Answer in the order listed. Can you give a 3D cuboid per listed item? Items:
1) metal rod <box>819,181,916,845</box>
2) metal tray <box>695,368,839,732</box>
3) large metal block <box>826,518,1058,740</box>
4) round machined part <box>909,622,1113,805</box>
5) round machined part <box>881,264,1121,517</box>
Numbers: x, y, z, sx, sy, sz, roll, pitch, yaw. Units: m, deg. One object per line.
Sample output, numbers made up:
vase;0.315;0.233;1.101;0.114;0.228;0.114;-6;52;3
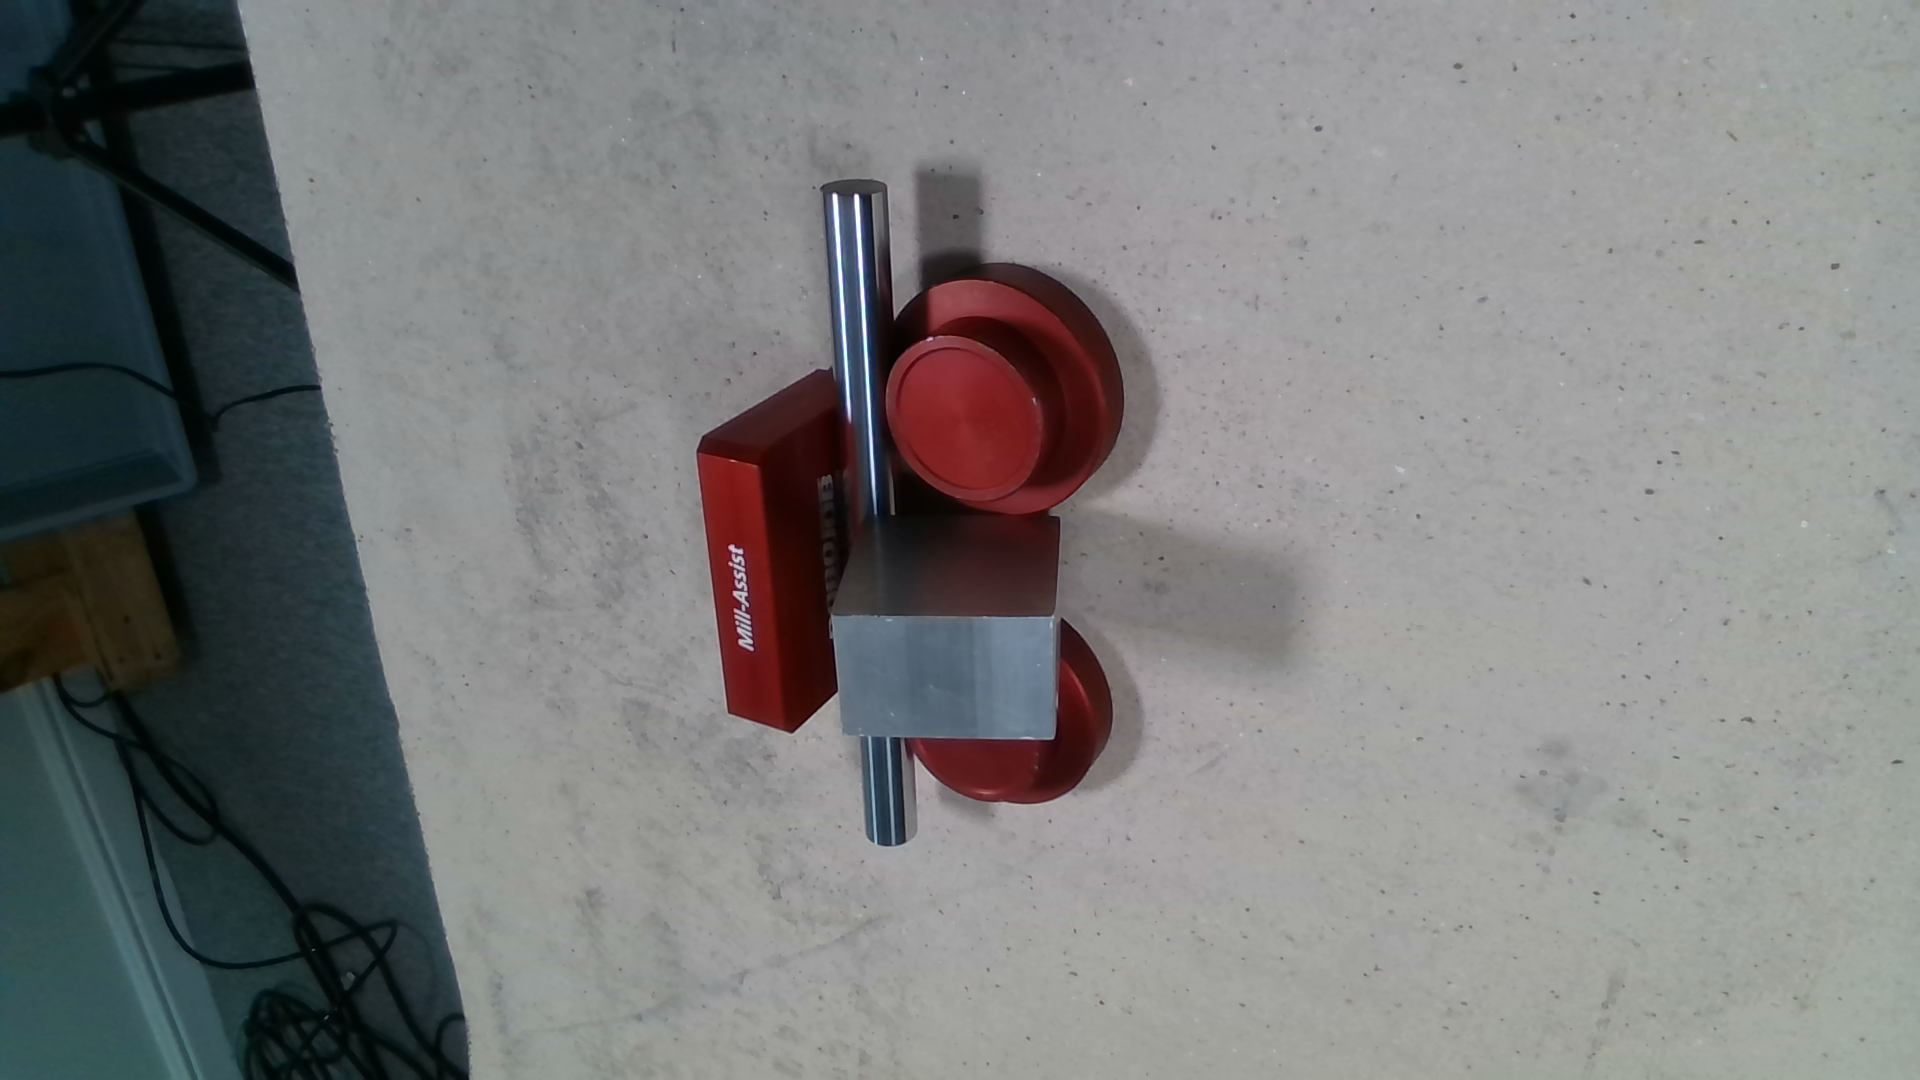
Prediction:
metal rod;-0.036;0.003;0.577;0.025;0.025;0.301;13;121;25
metal tray;-0.066;0.004;0.580;0.030;0.090;0.130;13;121;25
large metal block;-0.003;0.032;0.529;0.080;0.080;0.050;0;118;5
round machined part;0.013;0.075;0.601;0.098;0.042;0.098;14;122;25
round machined part;0.009;-0.053;0.532;0.098;0.042;0.098;14;122;25
